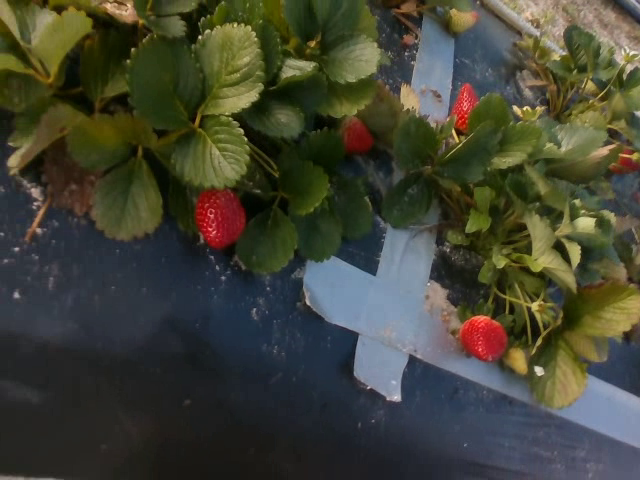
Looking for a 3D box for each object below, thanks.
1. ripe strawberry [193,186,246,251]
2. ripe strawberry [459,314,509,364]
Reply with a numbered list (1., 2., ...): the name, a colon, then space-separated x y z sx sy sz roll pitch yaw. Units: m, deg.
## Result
1. ripe strawberry: -0.032 -0.006 0.182 0.018 0.022 0.021 12 -40 -7
2. ripe strawberry: 0.066 0.041 0.231 0.023 0.021 0.026 26 32 4
